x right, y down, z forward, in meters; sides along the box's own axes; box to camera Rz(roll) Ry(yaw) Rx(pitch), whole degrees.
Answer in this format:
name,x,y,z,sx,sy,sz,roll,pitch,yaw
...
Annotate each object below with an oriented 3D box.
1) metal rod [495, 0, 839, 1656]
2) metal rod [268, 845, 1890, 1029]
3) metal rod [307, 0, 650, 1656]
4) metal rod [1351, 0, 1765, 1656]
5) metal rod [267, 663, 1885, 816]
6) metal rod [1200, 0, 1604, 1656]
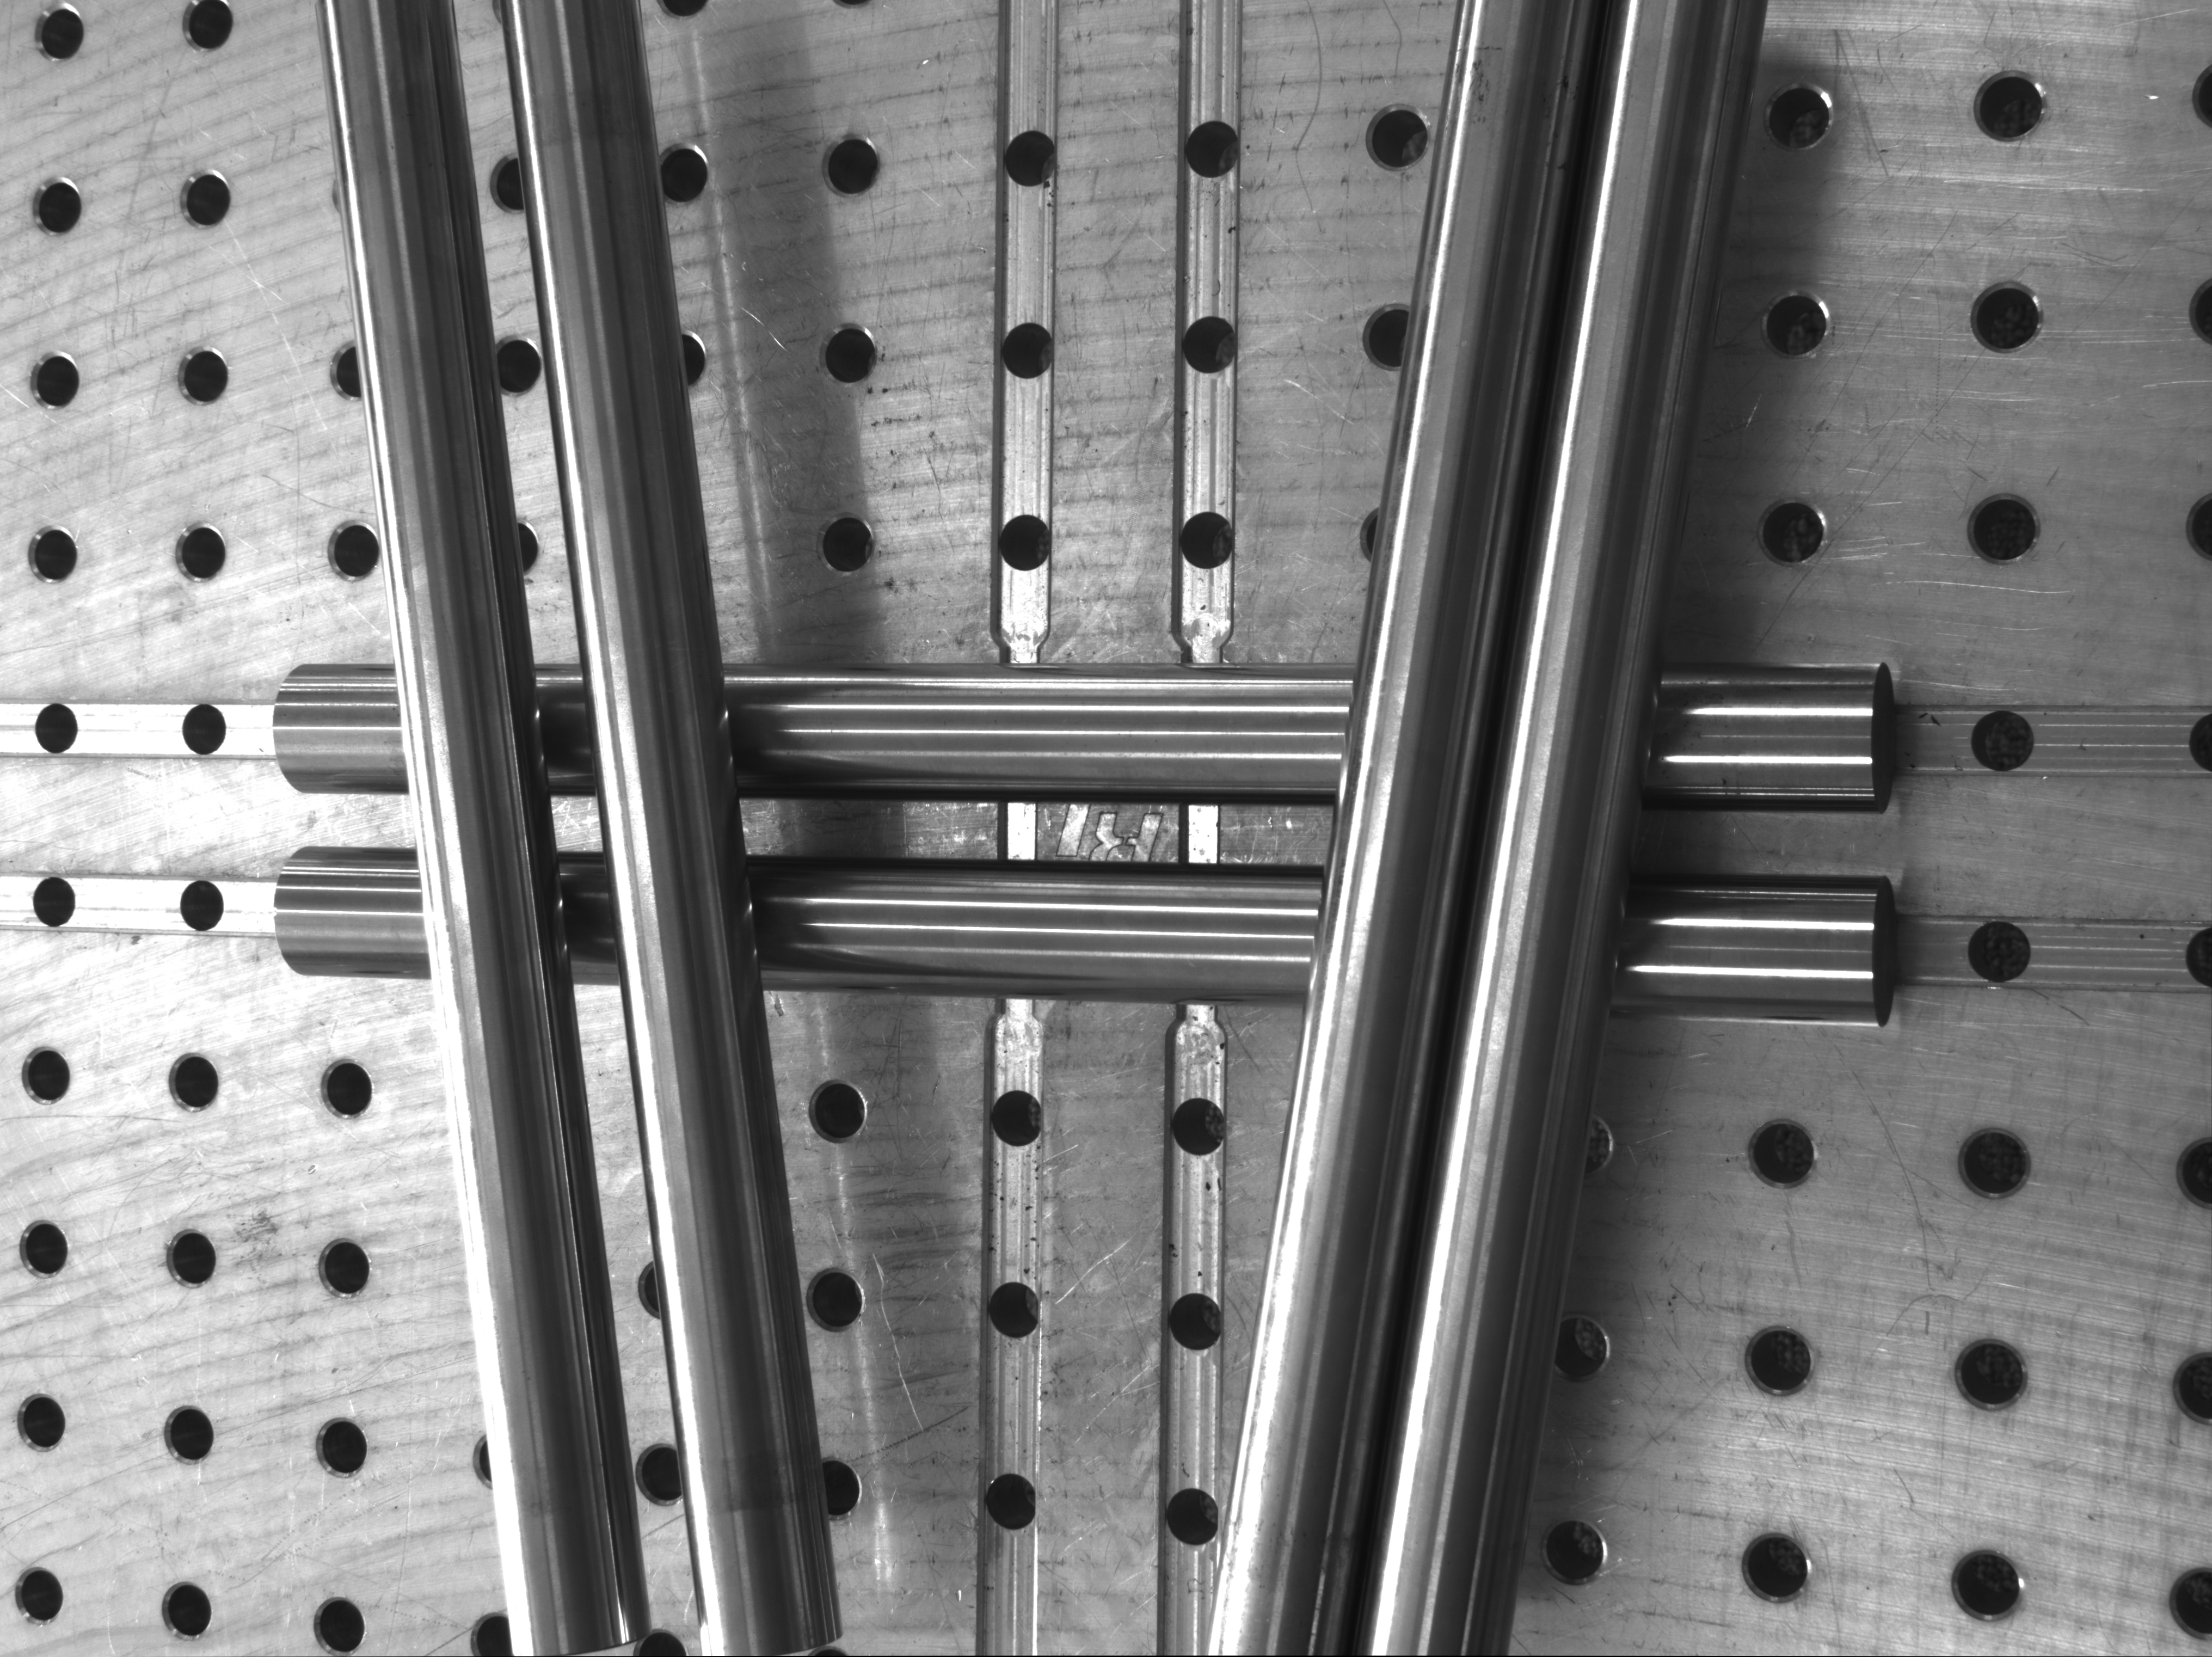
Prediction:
name,x,y,z,sx,sy,sz,roll,pitch,yaw
metal rod,-0.078,-0.006,0.652,0.025,0.025,0.300,-8,87,20
metal rod,-0.014,0.018,0.655,0.299,0.025,0.025,1,90,20
metal rod,-0.114,-0.003,0.665,0.025,0.025,0.300,-9,87,20
metal rod,0.073,-0.001,0.597,0.025,0.025,0.300,10,93,20
metal rod,-0.014,-0.017,0.655,0.299,0.025,0.025,1,90,20
metal rod,0.049,0.000,0.606,0.025,0.025,0.300,10,93,20
